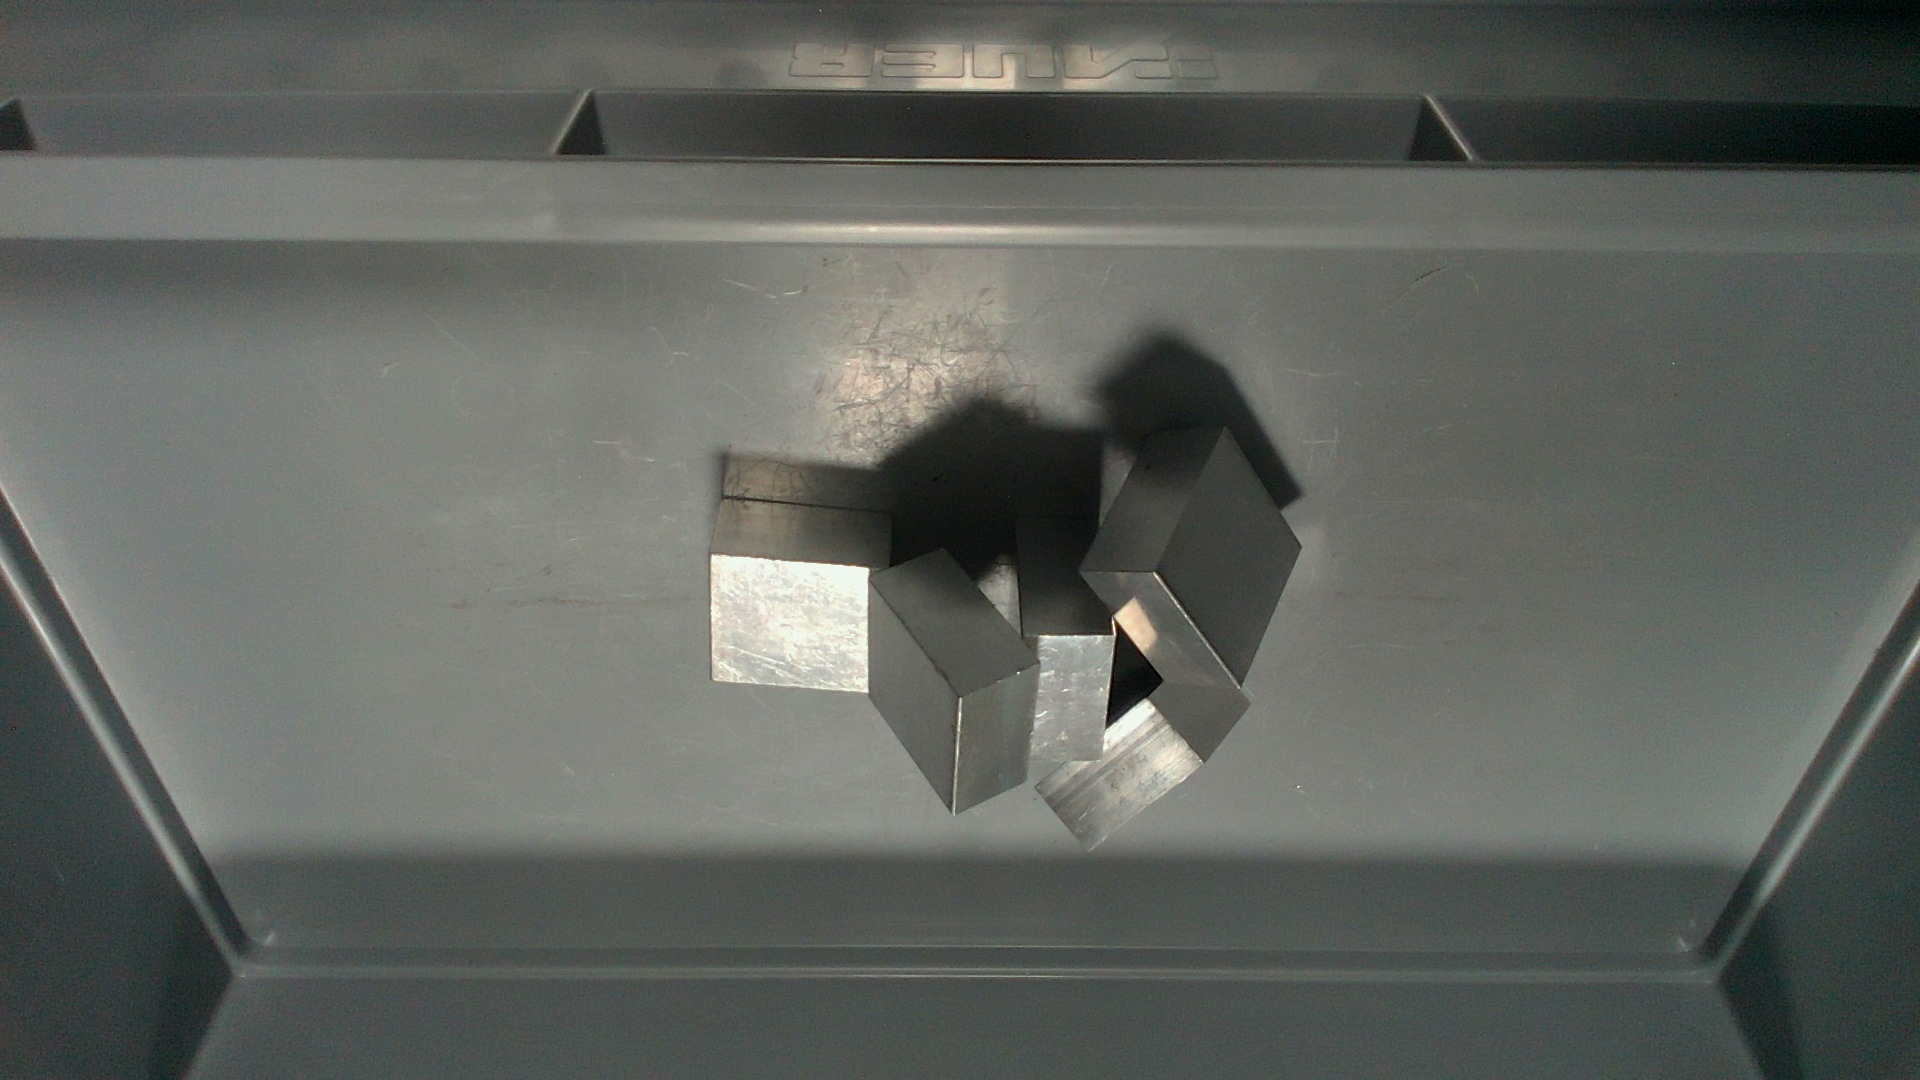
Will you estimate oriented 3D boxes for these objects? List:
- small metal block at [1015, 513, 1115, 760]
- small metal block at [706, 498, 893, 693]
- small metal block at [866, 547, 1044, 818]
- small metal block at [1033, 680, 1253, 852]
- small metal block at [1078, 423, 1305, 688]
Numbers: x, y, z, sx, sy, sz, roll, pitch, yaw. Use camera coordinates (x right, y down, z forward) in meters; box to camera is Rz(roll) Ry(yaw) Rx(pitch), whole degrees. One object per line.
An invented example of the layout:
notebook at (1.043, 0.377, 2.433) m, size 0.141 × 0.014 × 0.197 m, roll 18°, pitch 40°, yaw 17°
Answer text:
small metal block at (0.028, 0.028, 0.396) m, size 0.025 × 0.050 × 0.050 m, roll 1°, pitch 130°, yaw 0°
small metal block at (-0.047, 0.017, 0.402) m, size 0.050 × 0.025 × 0.050 m, roll 5°, pitch 130°, yaw -4°
small metal block at (-0.003, 0.039, 0.382) m, size 0.025 × 0.050 × 0.050 m, roll -21°, pitch 138°, yaw -24°
small metal block at (0.057, 0.063, 0.422) m, size 0.025 × 0.050 × 0.050 m, roll 50°, pitch 120°, yaw 7°
small metal block at (0.064, 0.004, 0.373) m, size 0.025 × 0.050 × 0.050 m, roll 0°, pitch 140°, yaw 44°
